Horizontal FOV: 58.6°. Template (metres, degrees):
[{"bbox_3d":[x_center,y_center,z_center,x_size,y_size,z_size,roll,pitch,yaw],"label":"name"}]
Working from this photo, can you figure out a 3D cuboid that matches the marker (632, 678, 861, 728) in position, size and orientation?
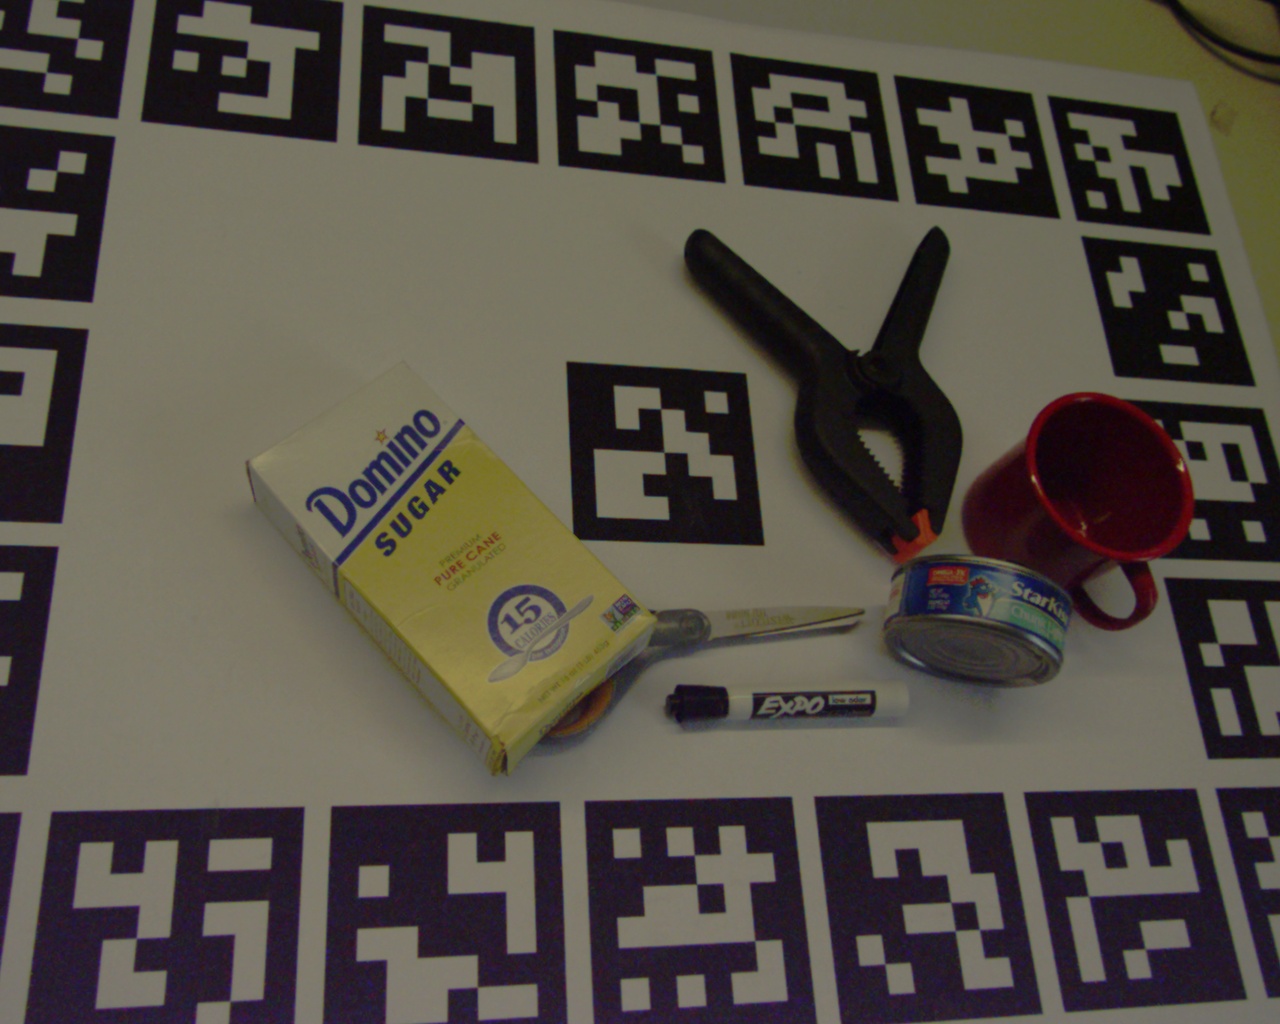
[{"bbox_3d":[0.055,0.098,0.588,0.120,0.020,0.020,-2,71,-14],"label":"marker"}]

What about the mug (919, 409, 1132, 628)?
[{"bbox_3d":[0.213,0.012,0.631,0.092,0.082,0.118,-26,74,-22],"label":"mug"}]

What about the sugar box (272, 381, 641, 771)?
[{"bbox_3d":[-0.091,0.027,0.559,0.092,0.045,0.177,-36,75,-24],"label":"sugar box"}]

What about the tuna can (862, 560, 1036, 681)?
[{"bbox_3d":[0.160,0.058,0.594,0.085,0.086,0.034,18,66,-7],"label":"tuna can"}]

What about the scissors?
[{"bbox_3d":[0.009,0.057,0.590,0.201,0.016,0.088,-8,68,-19],"label":"scissors"}]

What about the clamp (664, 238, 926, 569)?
[{"bbox_3d":[0.113,-0.066,0.669,0.164,0.037,0.203,-8,72,-17],"label":"clamp"}]
